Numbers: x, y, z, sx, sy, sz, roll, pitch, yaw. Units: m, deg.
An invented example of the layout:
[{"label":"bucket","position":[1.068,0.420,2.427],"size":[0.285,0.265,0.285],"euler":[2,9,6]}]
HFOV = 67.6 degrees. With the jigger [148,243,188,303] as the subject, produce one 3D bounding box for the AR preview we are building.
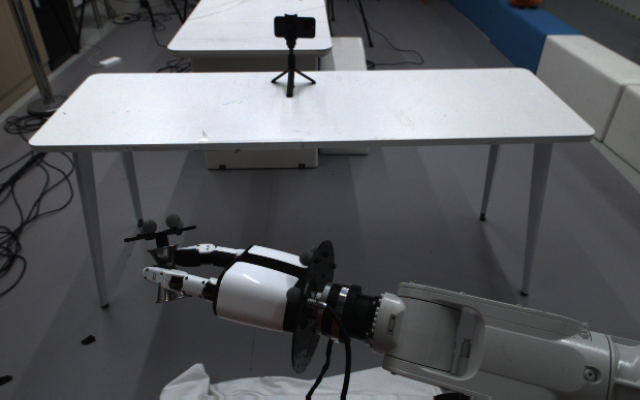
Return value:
[{"label":"jigger","position":[-0.193,0.093,0.621],"size":[0.043,0.071,0.043],"euler":[-12,-3,-1]}]
